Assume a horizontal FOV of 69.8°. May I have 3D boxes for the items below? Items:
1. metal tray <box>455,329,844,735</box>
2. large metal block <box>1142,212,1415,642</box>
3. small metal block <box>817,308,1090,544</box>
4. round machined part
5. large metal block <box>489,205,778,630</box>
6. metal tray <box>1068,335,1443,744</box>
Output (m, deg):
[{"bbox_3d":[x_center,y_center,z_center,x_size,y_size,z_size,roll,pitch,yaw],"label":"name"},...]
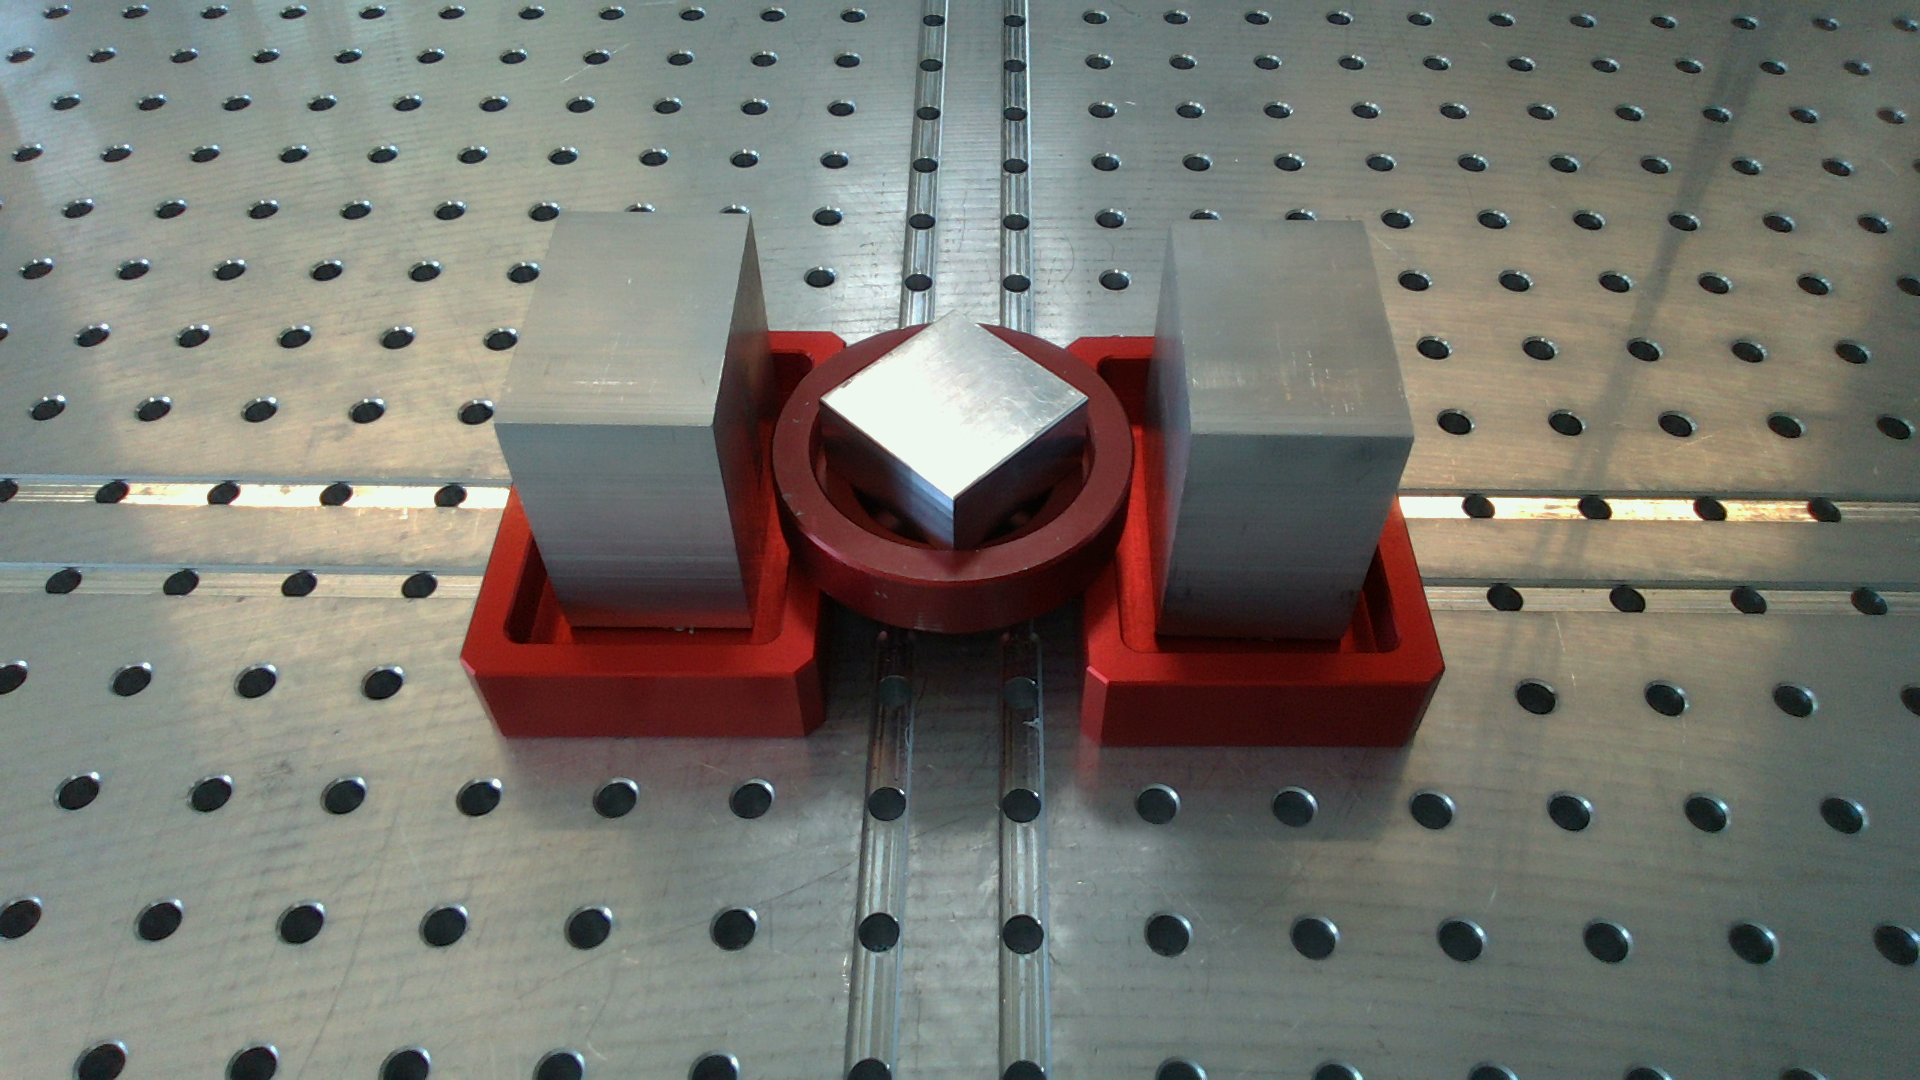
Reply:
[{"bbox_3d":[-0.081,-0.007,0.396,0.090,0.030,0.130,1,50,1],"label":"metal tray"},{"bbox_3d":[0.079,-0.029,0.366,0.050,0.080,0.080,1,50,1],"label":"large metal block"},{"bbox_3d":[-0.002,-0.029,0.366,0.050,0.025,0.050,37,59,27],"label":"small metal block"},{"bbox_3d":[-0.002,-0.013,0.383,0.098,0.042,0.098,0,50,0],"label":"round machined part"},{"bbox_3d":[-0.081,-0.032,0.368,0.050,0.080,0.080,1,50,1],"label":"large metal block"},{"bbox_3d":[0.076,-0.005,0.394,0.090,0.030,0.130,0,50,0],"label":"metal tray"}]
